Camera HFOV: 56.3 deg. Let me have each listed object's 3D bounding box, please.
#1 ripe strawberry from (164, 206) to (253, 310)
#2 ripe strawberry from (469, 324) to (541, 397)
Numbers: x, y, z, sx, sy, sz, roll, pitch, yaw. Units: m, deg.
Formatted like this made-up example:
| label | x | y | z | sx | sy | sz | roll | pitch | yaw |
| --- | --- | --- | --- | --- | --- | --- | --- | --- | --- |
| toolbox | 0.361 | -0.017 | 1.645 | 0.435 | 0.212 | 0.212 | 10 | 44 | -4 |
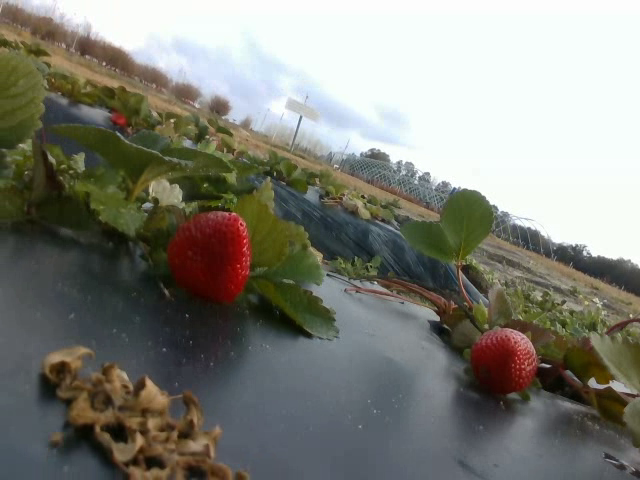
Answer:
| label | x | y | z | sx | sy | sz | roll | pitch | yaw |
| --- | --- | --- | --- | --- | --- | --- | --- | --- | --- |
| ripe strawberry | -0.044 | 0.002 | 0.250 | 0.046 | 0.050 | 0.050 | -39 | -11 | -37 |
| ripe strawberry | 0.094 | 0.058 | 0.300 | 0.041 | 0.045 | 0.052 | -29 | -27 | -4 |
